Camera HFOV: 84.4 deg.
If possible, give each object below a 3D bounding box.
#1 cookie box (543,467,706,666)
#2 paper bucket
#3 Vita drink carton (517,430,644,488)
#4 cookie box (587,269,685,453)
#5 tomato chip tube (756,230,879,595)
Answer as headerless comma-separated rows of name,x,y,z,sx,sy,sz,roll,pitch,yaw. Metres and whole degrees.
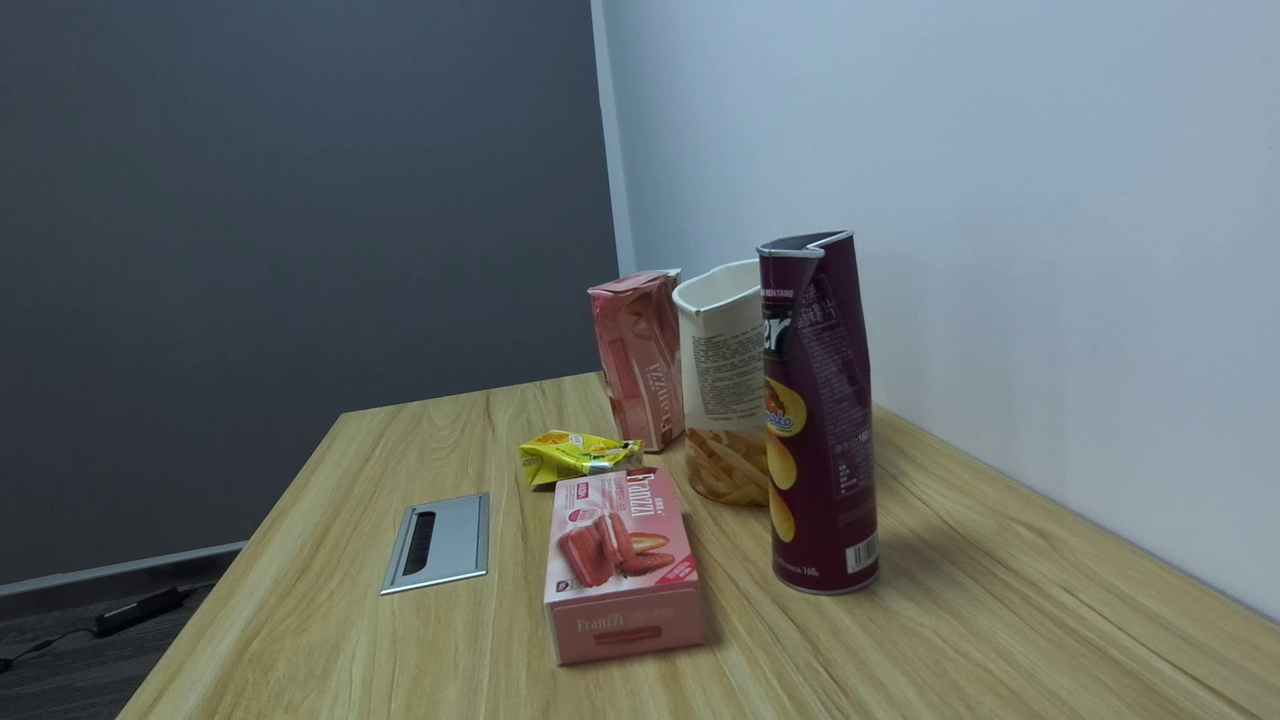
cookie box,-0.015,0.140,0.519,0.096,0.048,0.184,-8,14,-3
paper bucket,0.106,0.012,0.638,0.147,0.199,0.217,-8,14,0
Vita drink carton,-0.056,0.101,0.700,0.108,0.042,0.087,3,10,25
cookie box,0.010,0.001,0.767,0.055,0.184,0.119,2,18,38
tomato chip tube,0.122,0.036,0.479,0.078,0.235,0.076,-6,15,0
